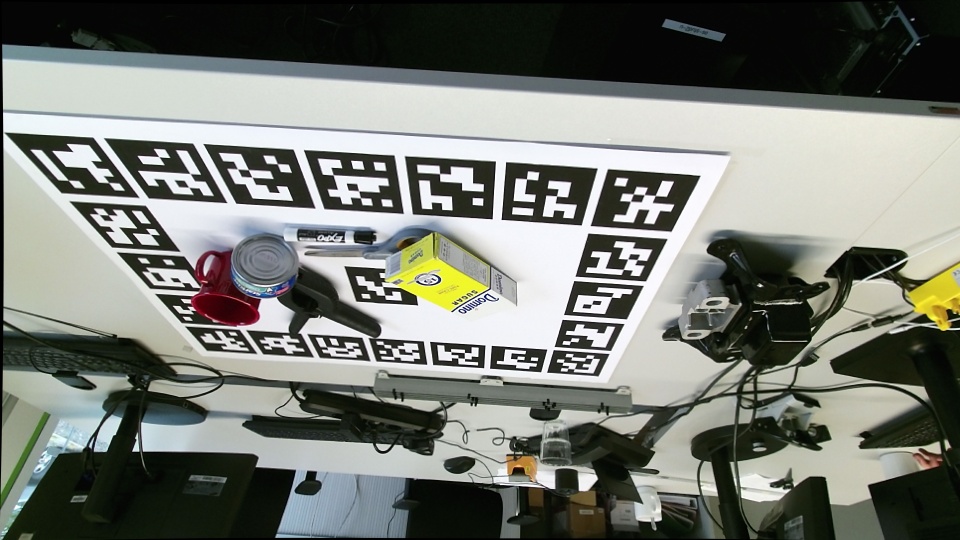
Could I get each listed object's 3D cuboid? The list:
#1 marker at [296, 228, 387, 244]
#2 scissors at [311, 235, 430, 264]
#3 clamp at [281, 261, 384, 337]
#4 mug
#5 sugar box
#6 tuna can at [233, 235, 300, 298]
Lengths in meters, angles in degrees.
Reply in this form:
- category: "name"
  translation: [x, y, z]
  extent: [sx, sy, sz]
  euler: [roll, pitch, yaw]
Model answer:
- category: "marker"
  translation: [-0.186, -0.046, 0.722]
  extent: [0.121, 0.019, 0.020]
  euler: [1, 142, 4]
- category: "scissors"
  translation: [-0.142, -0.016, 0.753]
  extent: [0.203, 0.016, 0.088]
  euler: [-2, 147, 11]
- category: "clamp"
  translation: [-0.261, 0.055, 0.868]
  extent: [0.166, 0.036, 0.203]
  euler: [-2, 142, 10]
- category: "mug"
  translation: [-0.352, 0.018, 0.779]
  extent: [0.093, 0.081, 0.117]
  euler: [-13, 143, 23]
- category: "sugar box"
  translation: [-0.036, 0.017, 0.760]
  extent: [0.093, 0.045, 0.177]
  euler: [-21, 142, 30]
- category: "tuna can"
  translation: [-0.291, -0.006, 0.732]
  extent: [0.086, 0.085, 0.034]
  euler: [14, 142, -12]
